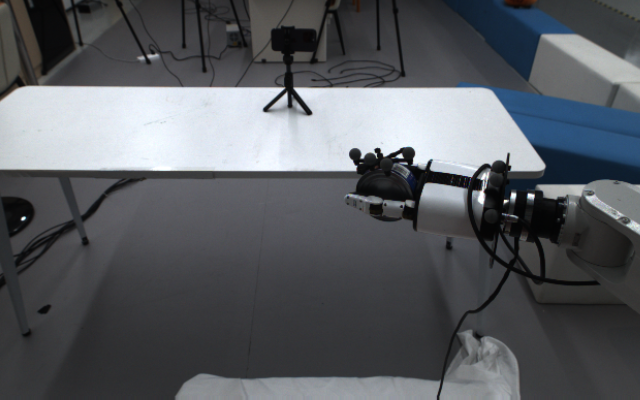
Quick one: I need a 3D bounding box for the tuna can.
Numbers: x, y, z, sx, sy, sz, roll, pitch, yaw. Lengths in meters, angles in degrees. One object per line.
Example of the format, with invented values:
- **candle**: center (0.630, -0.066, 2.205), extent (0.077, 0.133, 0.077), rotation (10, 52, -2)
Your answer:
- **tuna can**: center (0.099, -0.015, 0.700), extent (0.085, 0.085, 0.034), rotation (17, 37, 20)
